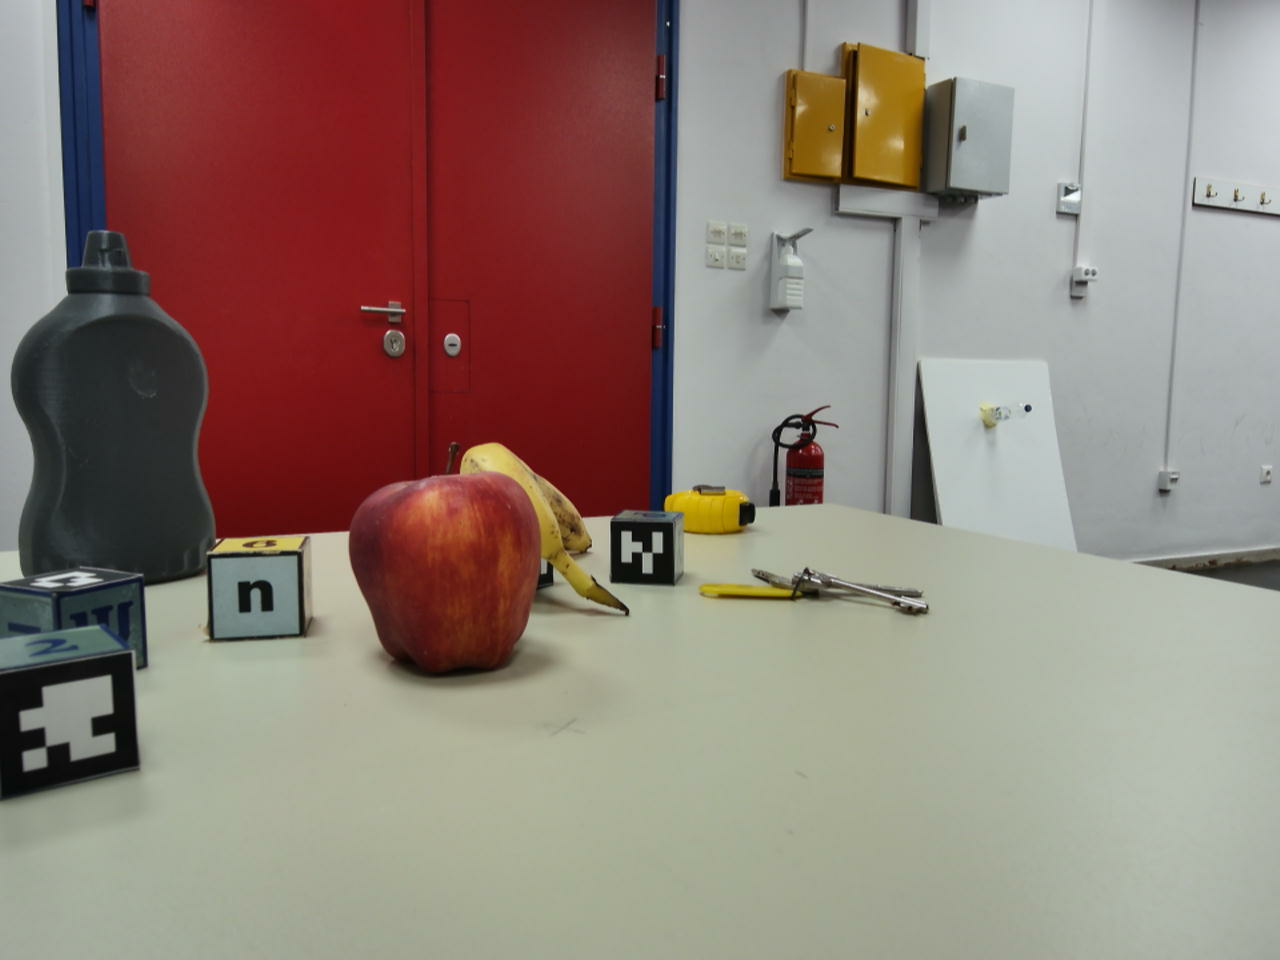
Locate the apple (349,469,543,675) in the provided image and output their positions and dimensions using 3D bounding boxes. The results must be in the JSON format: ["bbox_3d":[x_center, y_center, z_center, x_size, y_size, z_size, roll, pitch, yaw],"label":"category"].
[{"bbox_3d":[-0.080,0.031,0.412,0.083,0.090,0.083,1,4,0],"label":"apple"}]
